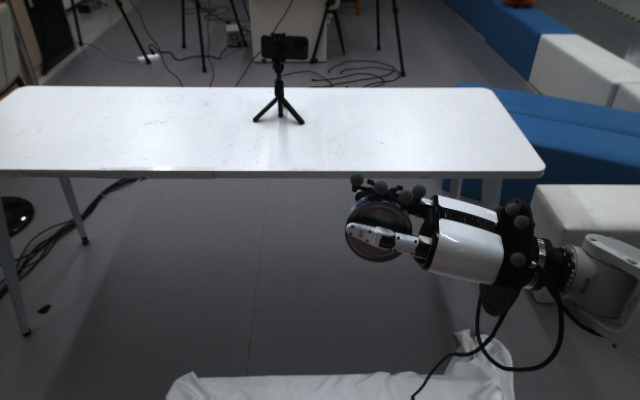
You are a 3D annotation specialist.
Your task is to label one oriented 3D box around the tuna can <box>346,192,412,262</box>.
[{"bbox_3d":[0.077,0.033,0.630,0.085,0.085,0.034,5,18,4],"label":"tuna can"}]
